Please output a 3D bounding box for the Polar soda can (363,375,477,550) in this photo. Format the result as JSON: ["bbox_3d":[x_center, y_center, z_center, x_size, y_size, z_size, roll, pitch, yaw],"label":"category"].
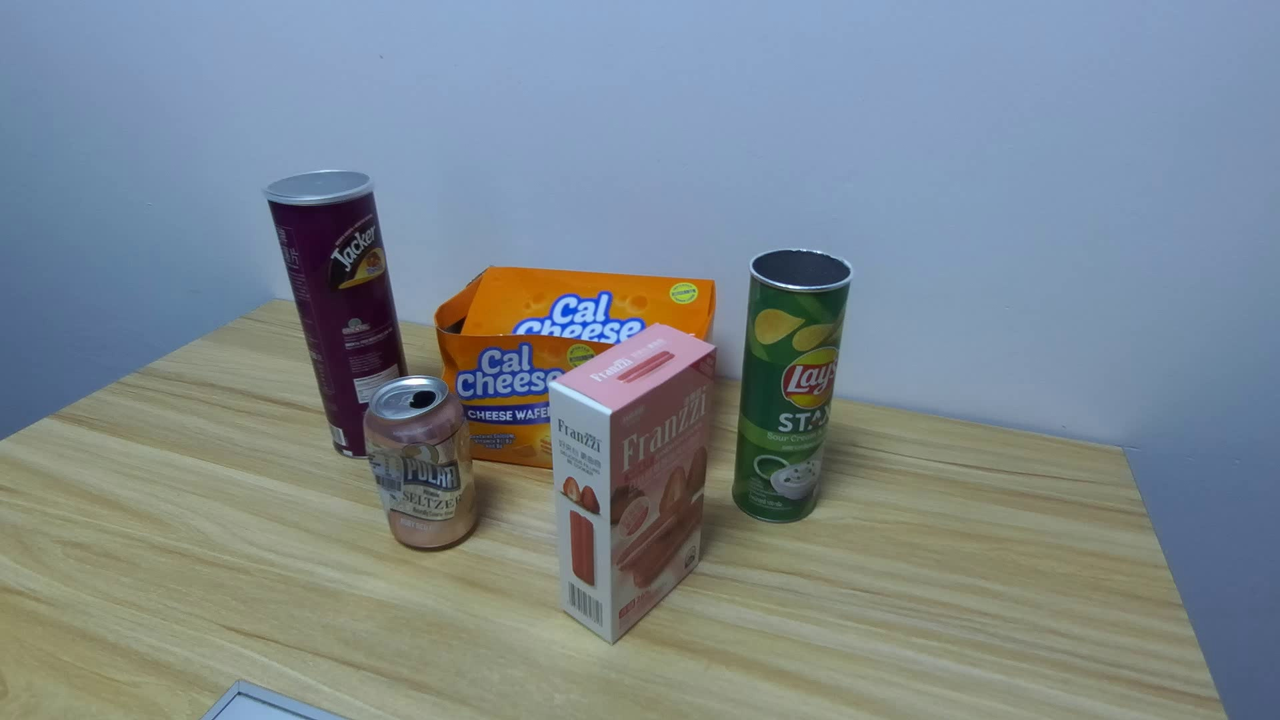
[{"bbox_3d":[-0.159,0.078,0.521,0.067,0.122,0.074,-20,34,-29],"label":"Polar soda can"}]

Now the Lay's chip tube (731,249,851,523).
[{"bbox_3d":[0.109,0.022,0.523,0.071,0.203,0.071,0,31,0],"label":"Lay's chip tube"}]

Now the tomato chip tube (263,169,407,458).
[{"bbox_3d":[-0.245,-0.032,0.596,0.078,0.234,0.078,0,30,0],"label":"tomato chip tube"}]

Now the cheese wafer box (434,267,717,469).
[{"bbox_3d":[-0.053,0.008,0.634,0.230,0.132,0.152,6,32,10],"label":"cheese wafer box"}]

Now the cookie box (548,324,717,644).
[{"bbox_3d":[-0.003,0.080,0.447,0.048,0.185,0.096,24,38,33],"label":"cookie box"}]
